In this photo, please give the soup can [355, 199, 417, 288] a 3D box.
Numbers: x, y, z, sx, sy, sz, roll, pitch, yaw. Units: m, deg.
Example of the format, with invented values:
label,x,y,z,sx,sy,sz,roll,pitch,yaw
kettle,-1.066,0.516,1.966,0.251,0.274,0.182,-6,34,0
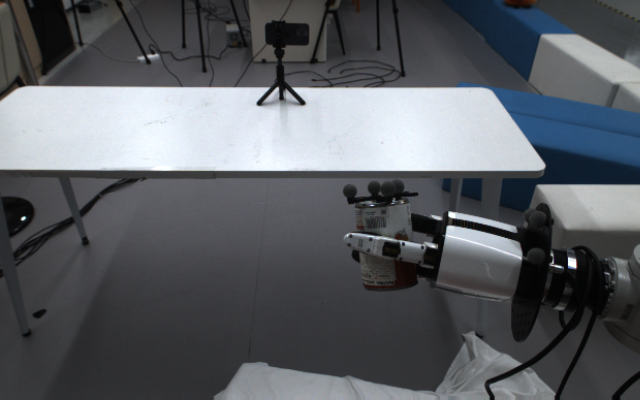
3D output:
label,x,y,z,sx,sy,sz,roll,pitch,yaw
soup can,0.081,0.051,0.583,0.067,0.101,0.067,-7,3,0
